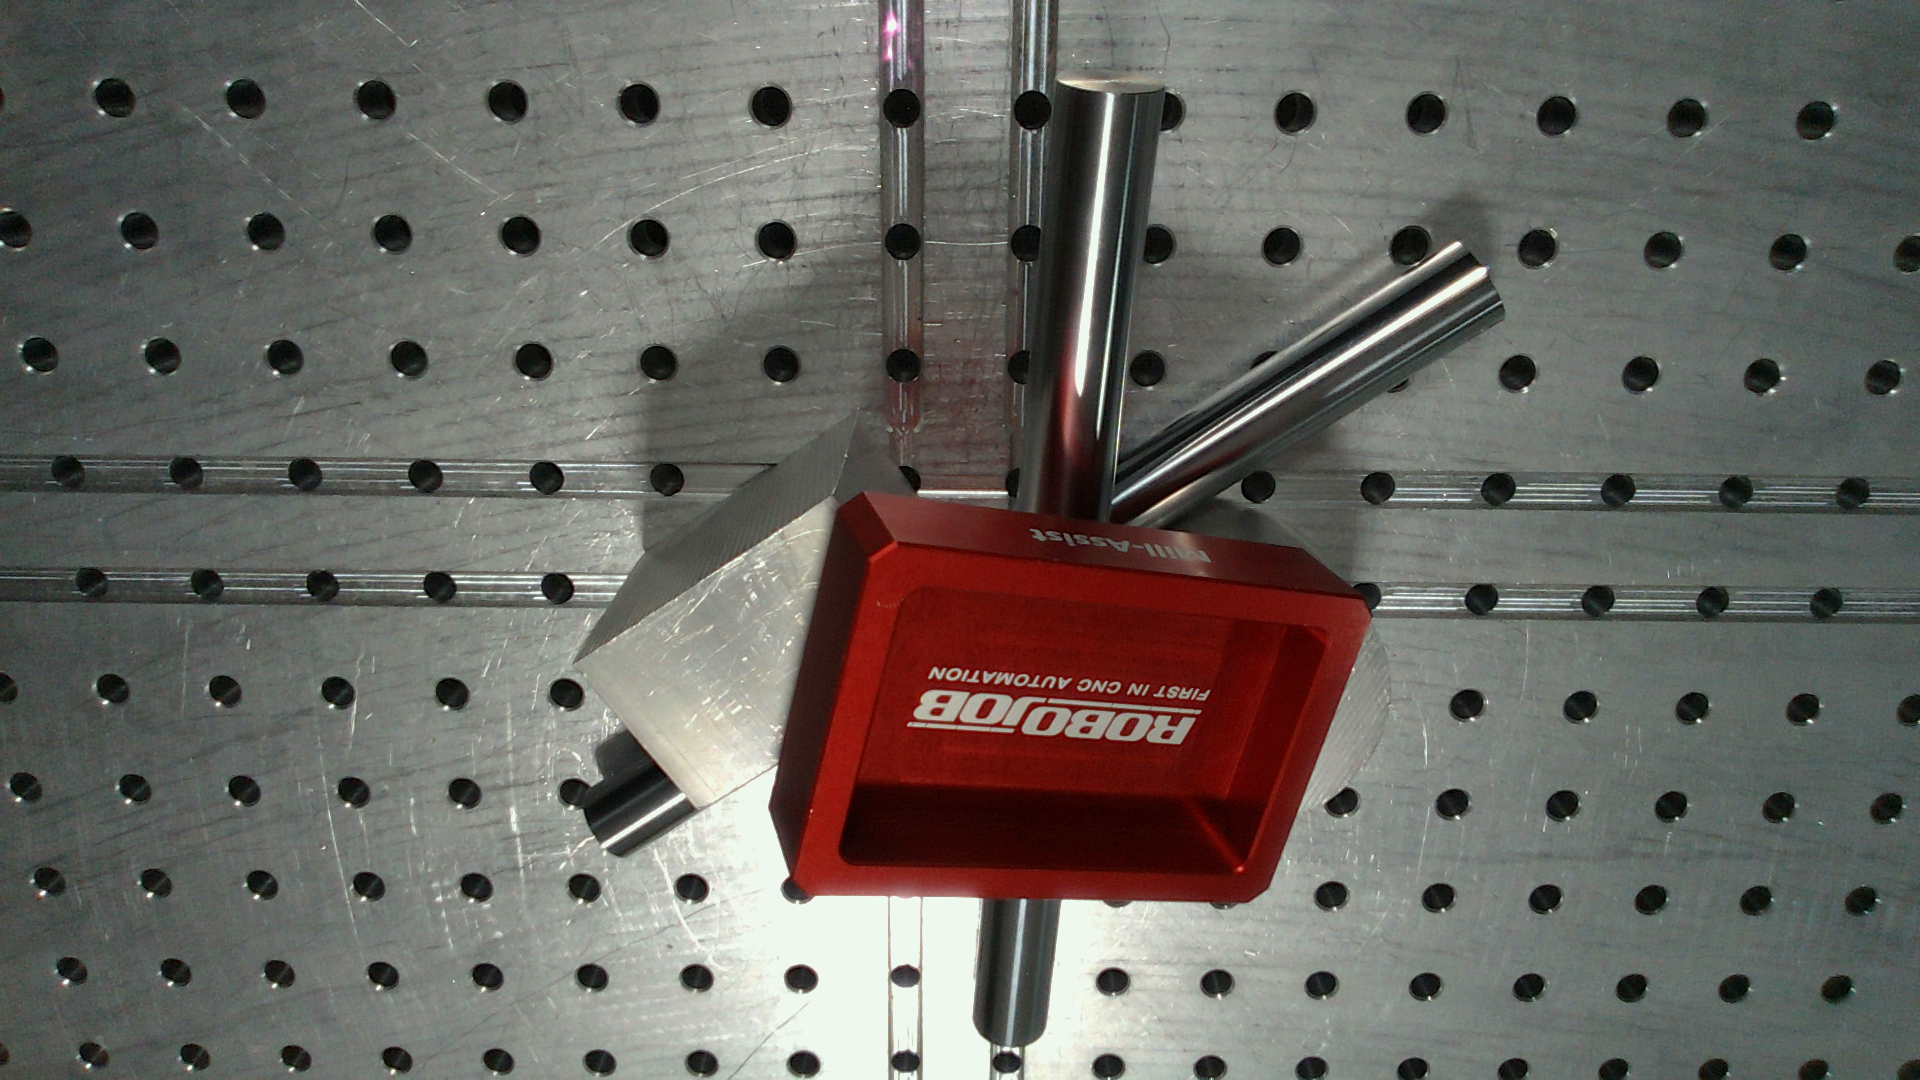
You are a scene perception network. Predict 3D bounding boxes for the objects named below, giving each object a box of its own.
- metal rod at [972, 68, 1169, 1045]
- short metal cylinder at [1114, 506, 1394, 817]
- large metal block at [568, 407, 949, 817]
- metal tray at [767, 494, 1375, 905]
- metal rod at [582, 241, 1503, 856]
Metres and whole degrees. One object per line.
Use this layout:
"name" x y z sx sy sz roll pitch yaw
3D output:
"metal rod" 0.025 0.027 0.382 0.025 0.025 0.300 3 119 -1
"short metal cylinder" 0.077 0.036 0.395 0.080 0.050 0.080 0 110 0
"large metal block" -0.048 0.016 0.372 0.080 0.080 0.050 -32 107 11
"metal tray" 0.027 0.043 0.334 0.130 0.030 0.090 7 111 -22
"metal rod" 0.015 0.009 0.400 0.300 0.025 0.025 -32 107 11
